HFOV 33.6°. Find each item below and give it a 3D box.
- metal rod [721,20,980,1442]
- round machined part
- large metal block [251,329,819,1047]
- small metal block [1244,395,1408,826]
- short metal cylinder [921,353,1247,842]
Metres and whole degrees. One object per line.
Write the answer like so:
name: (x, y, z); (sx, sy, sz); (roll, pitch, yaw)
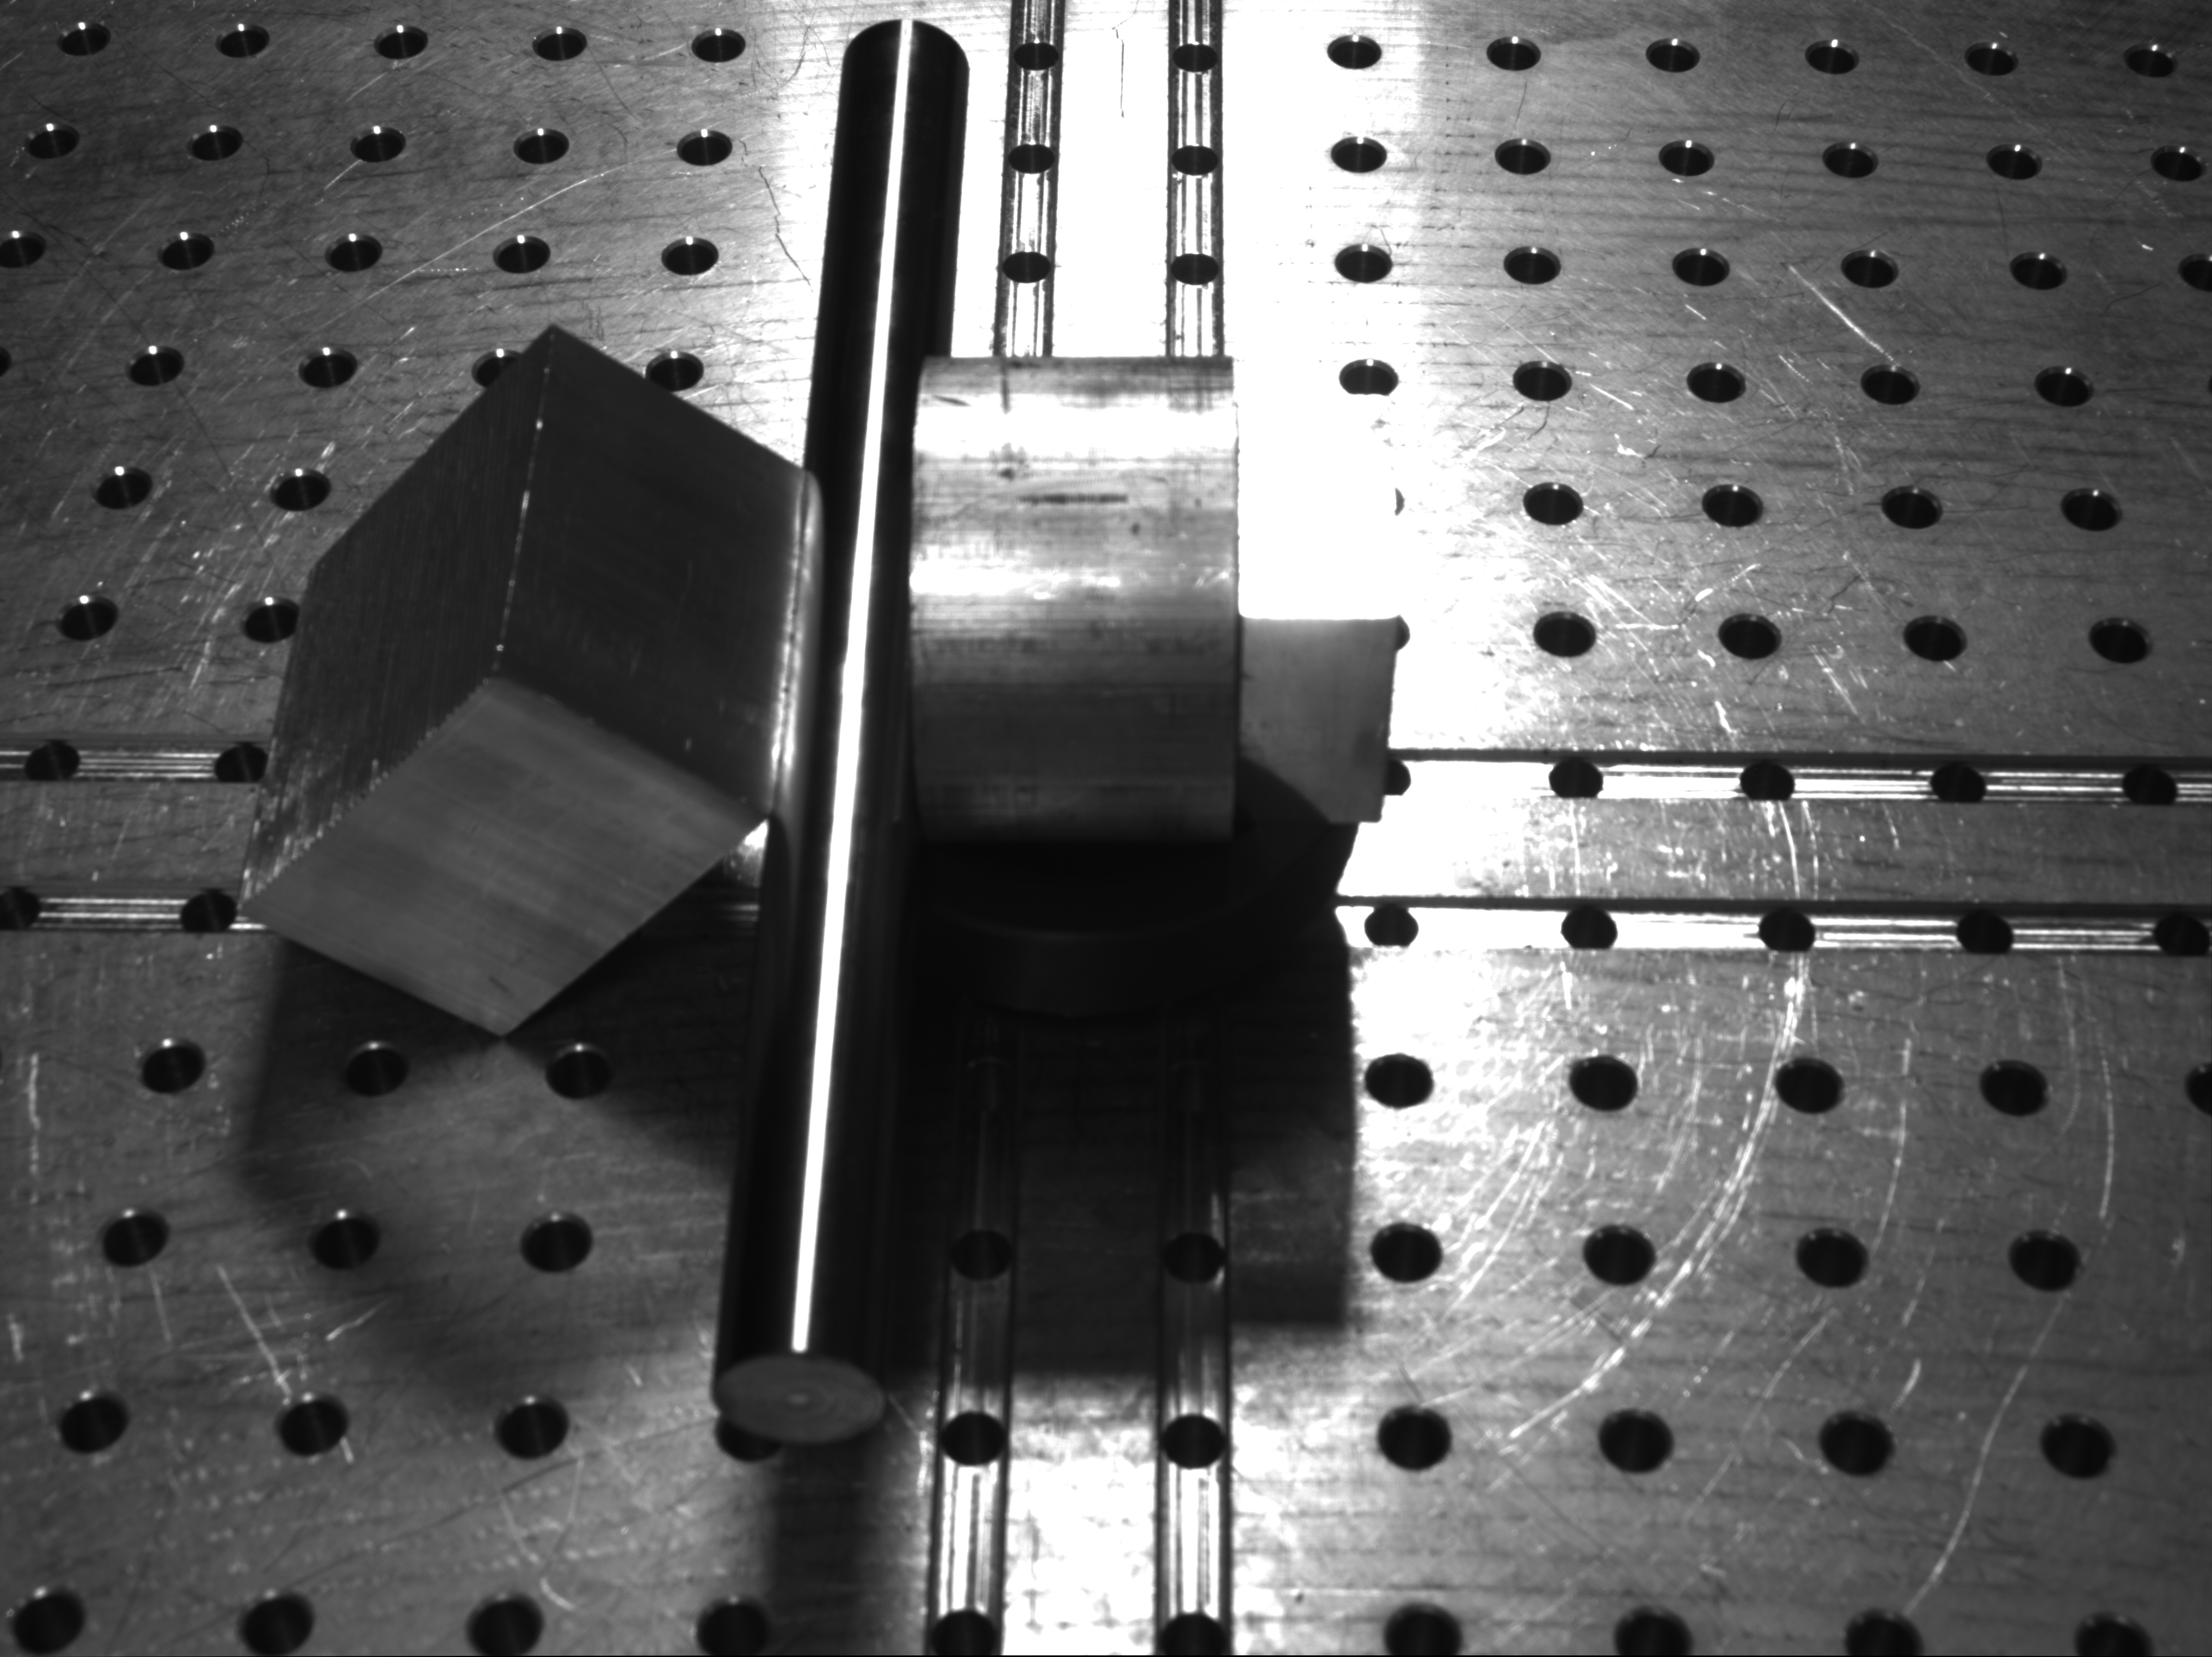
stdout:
metal rod: (-0.040, -0.033, 0.619); (0.025, 0.025, 0.300); (1, 50, 1)
round machined part: (-0.002, -0.007, 0.638); (0.098, 0.042, 0.098); (0, 50, 0)
large metal block: (-0.096, -0.023, 0.621); (0.050, 0.080, 0.080); (30, 42, -29)
small metal block: (0.035, -0.036, 0.604); (0.025, 0.050, 0.050); (1, 50, 1)
short metal cylinder: (-0.003, -0.038, 0.602); (0.050, 0.080, 0.080); (1, 50, 1)
